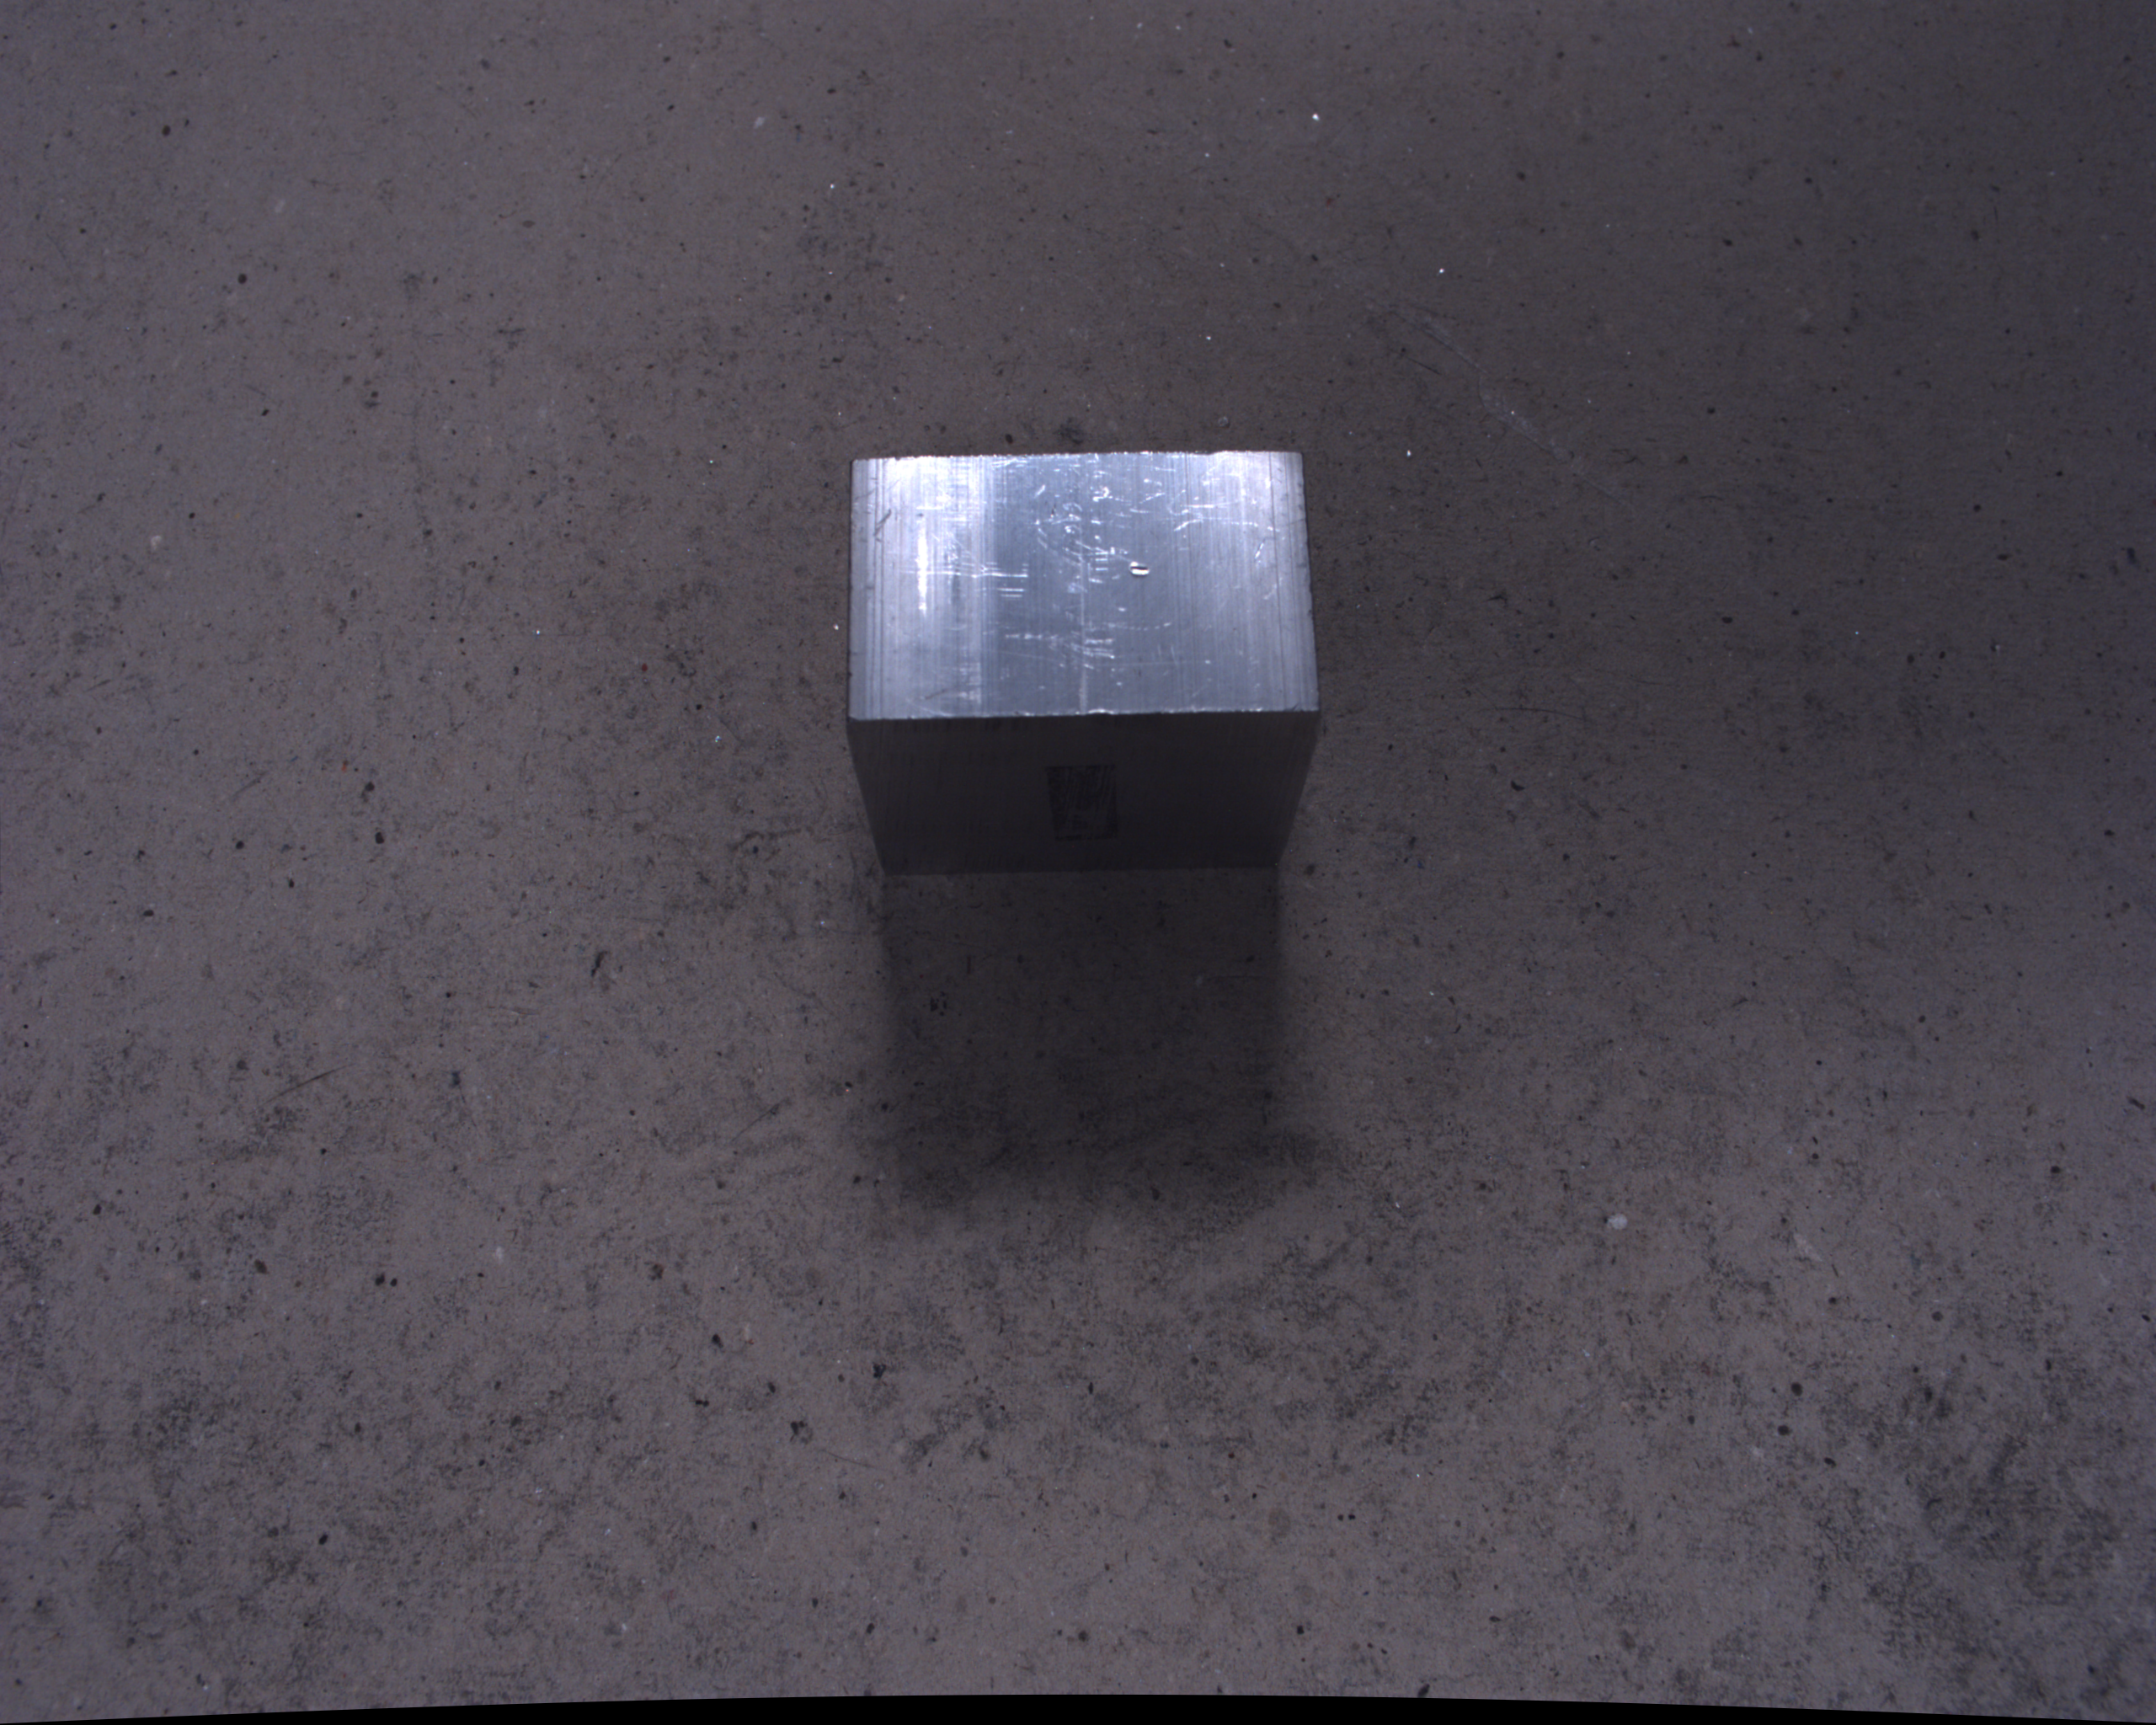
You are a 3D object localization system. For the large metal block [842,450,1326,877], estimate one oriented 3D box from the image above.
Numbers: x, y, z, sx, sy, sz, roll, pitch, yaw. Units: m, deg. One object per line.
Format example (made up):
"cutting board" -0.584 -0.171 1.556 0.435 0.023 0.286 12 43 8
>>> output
"large metal block" 0.000 -0.035 0.393 0.081 0.080 0.050 -1 70 -1
